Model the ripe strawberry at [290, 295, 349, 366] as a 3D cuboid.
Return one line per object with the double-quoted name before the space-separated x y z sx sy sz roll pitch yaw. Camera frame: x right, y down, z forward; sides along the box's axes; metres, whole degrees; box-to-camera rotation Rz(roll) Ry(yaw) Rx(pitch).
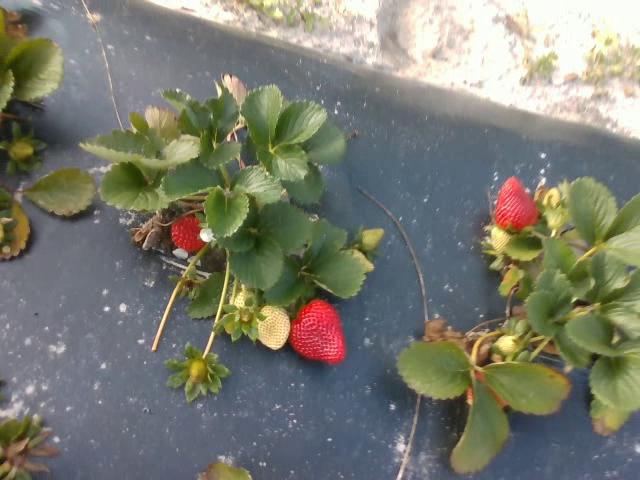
"ripe strawberry" 0.001 0.084 0.522 0.048 0.051 0.055 26 21 -46
